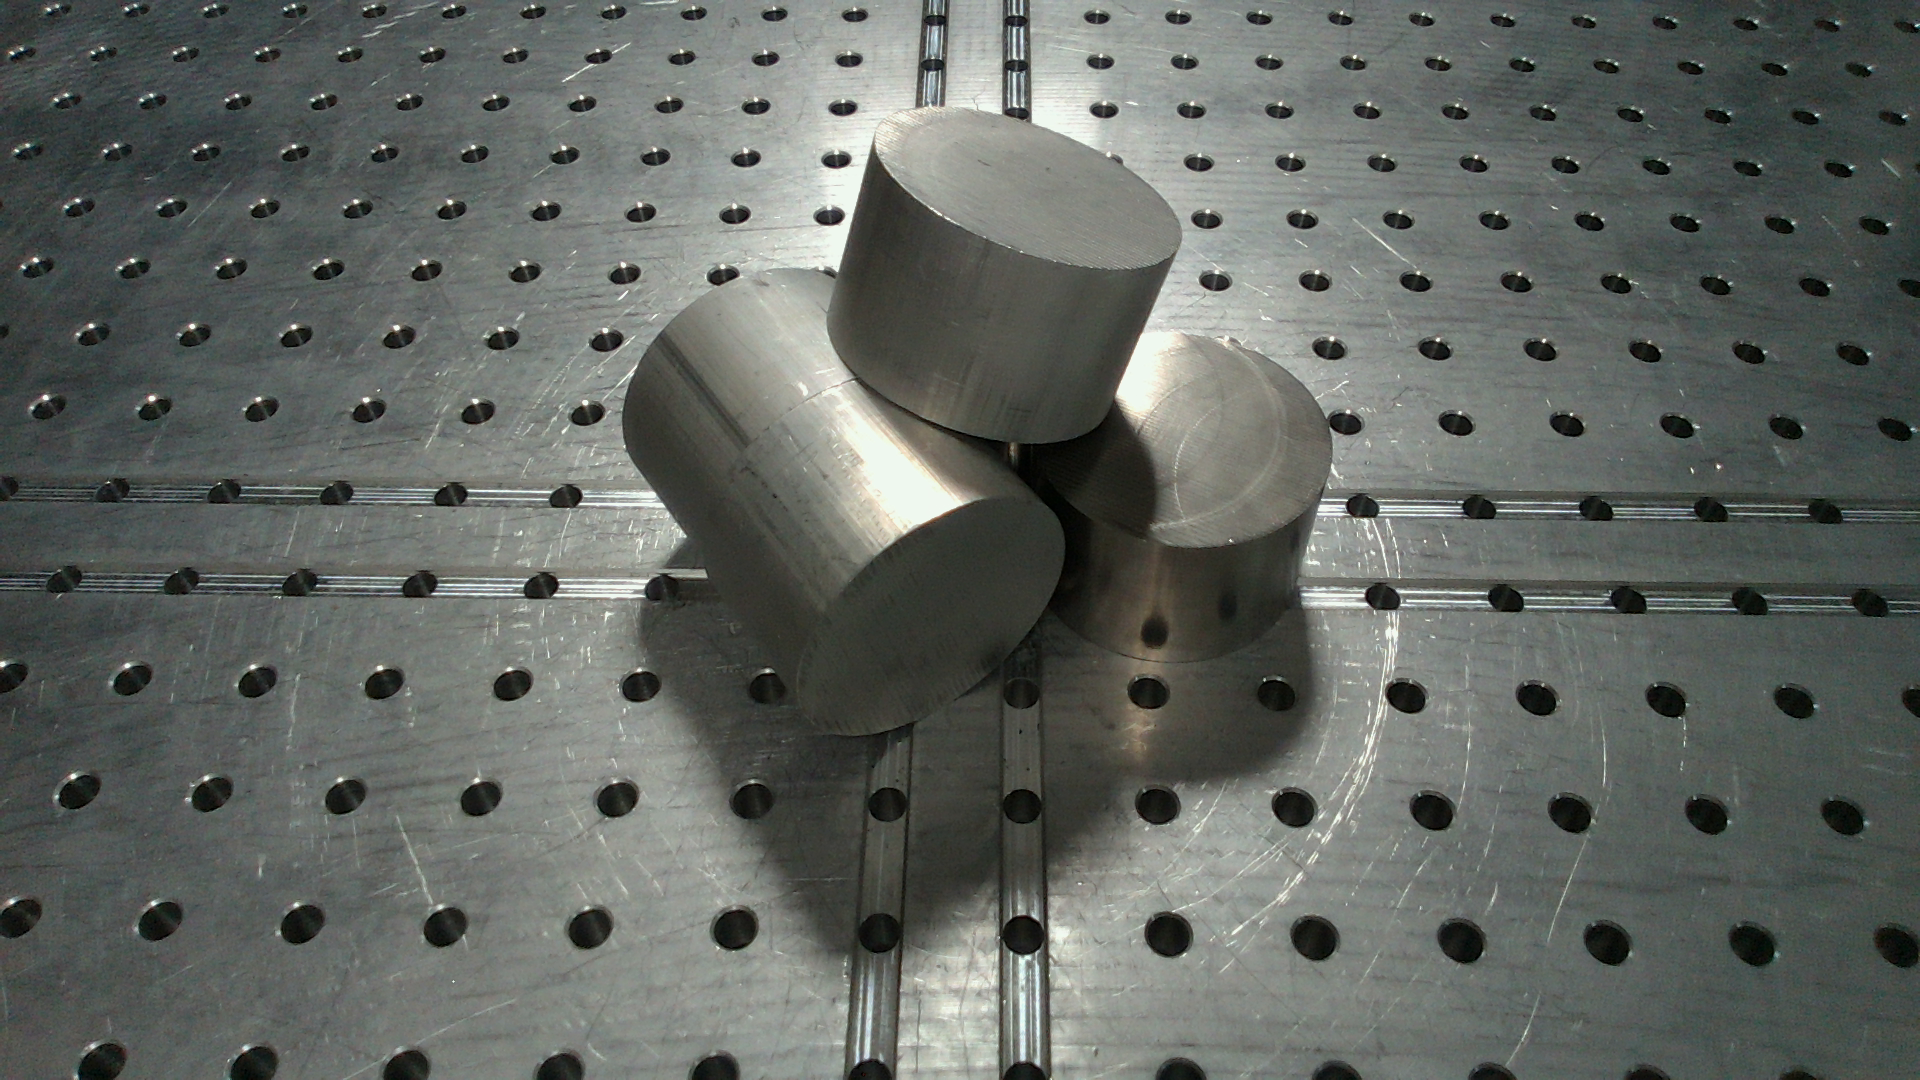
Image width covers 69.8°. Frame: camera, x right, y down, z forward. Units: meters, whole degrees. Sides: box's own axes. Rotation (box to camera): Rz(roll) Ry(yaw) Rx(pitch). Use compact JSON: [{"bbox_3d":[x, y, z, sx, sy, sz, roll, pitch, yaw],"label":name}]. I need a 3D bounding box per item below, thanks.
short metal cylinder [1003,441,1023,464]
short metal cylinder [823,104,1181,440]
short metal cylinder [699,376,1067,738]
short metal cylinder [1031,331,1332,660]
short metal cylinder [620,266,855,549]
[{"bbox_3d":[0.015,-0.065,0.432,0.080,0.050,0.080,0,50,0],"label":"short metal cylinder"},{"bbox_3d":[0.010,-0.070,0.353,0.080,0.050,0.080,14,36,-10],"label":"short metal cylinder"},{"bbox_3d":[-0.020,0.004,0.355,0.080,0.080,0.050,-27,55,-21],"label":"short metal cylinder"},{"bbox_3d":[0.060,-0.013,0.388,0.080,0.050,0.080,0,50,0],"label":"short metal cylinder"},{"bbox_3d":[-0.046,-0.028,0.382,0.080,0.080,0.050,-27,55,-21],"label":"short metal cylinder"}]
